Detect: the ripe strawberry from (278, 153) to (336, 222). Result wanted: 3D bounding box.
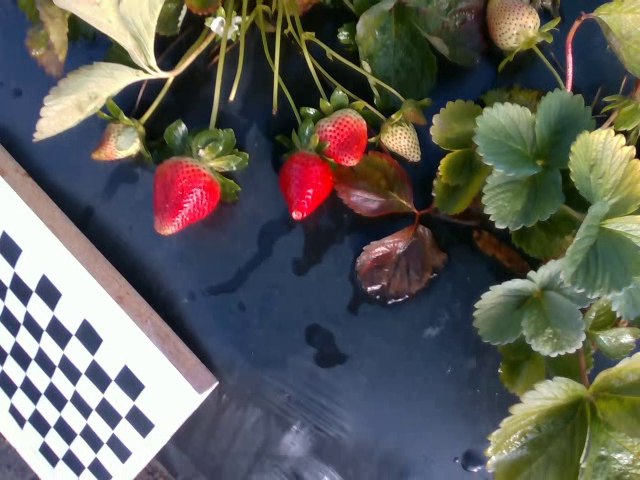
[{"bbox_3d":[-0.013,-0.034,0.407,0.044,0.055,0.041,-18,-43,37],"label":"ripe strawberry"}]

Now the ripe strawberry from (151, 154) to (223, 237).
[{"bbox_3d":[-0.099,-0.030,0.413,0.050,0.065,0.050,9,-32,31],"label":"ripe strawberry"}]
